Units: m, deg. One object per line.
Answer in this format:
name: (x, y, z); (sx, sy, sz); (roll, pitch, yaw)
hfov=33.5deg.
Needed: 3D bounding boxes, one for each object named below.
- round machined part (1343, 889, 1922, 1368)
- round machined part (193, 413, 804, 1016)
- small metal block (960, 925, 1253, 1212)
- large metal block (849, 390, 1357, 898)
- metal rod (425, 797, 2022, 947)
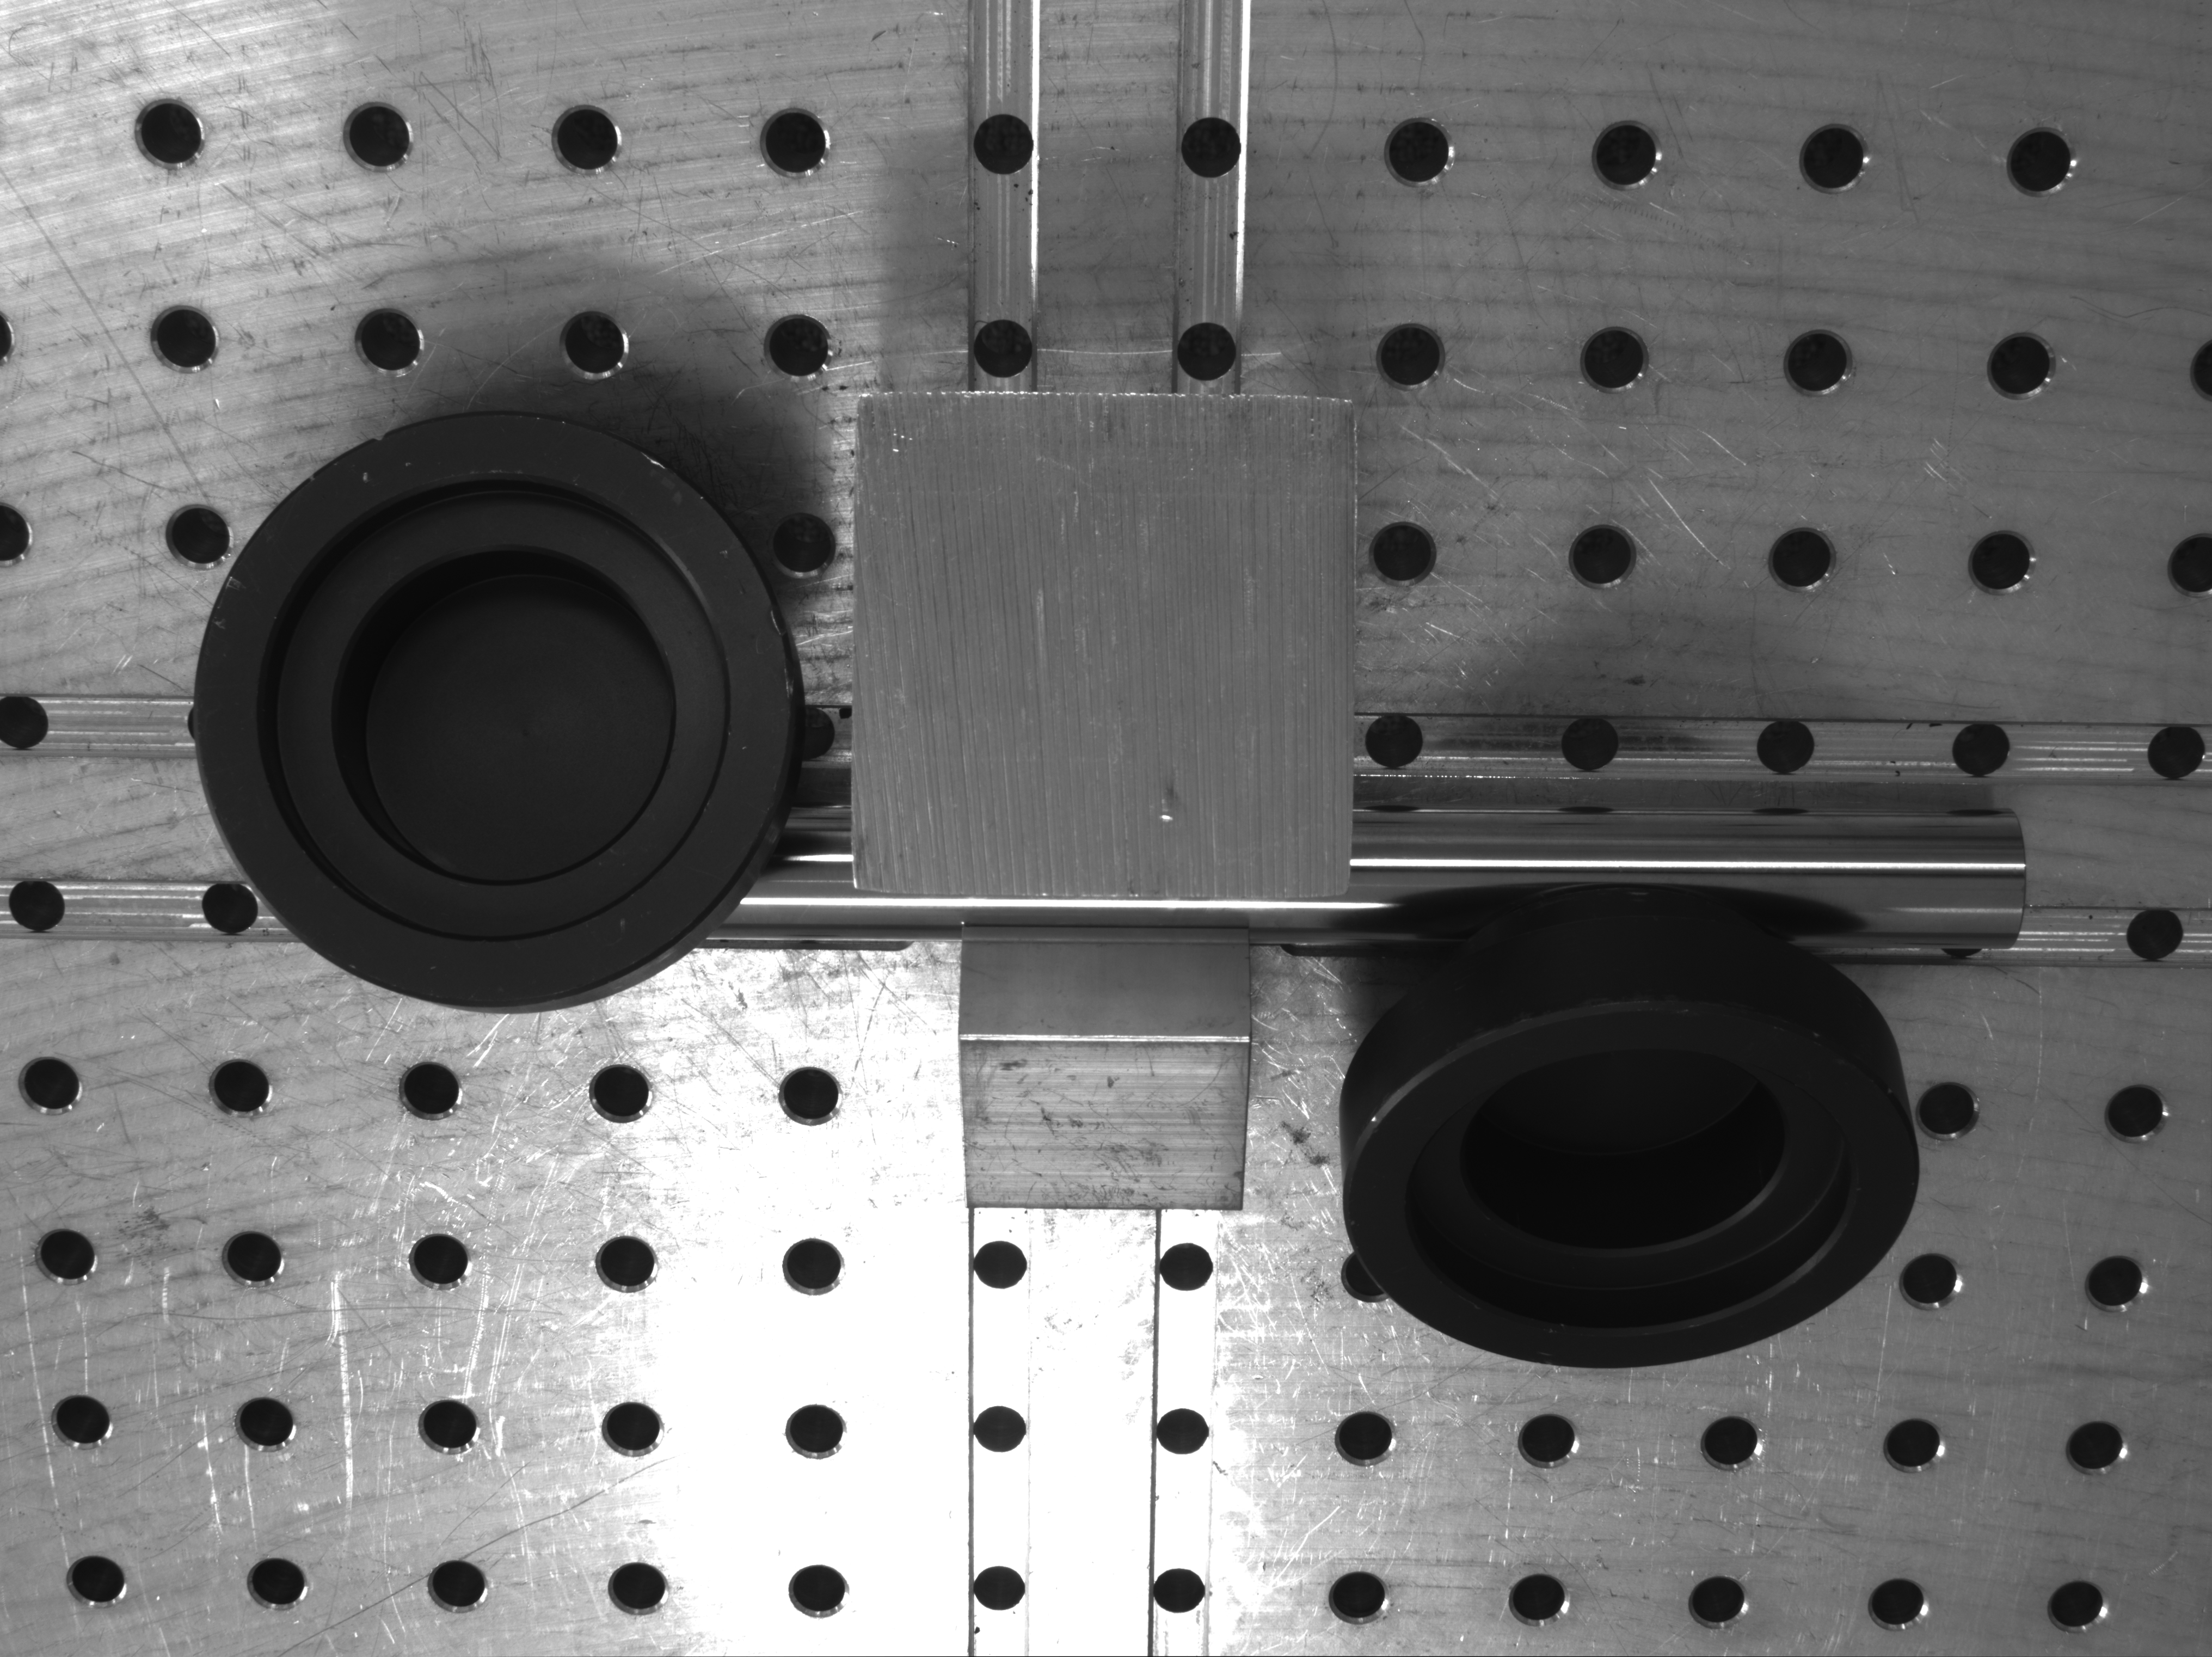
round machined part: (0.090, 0.048, 0.642); (0.098, 0.042, 0.098); (0, 135, 0)
round machined part: (-0.099, -0.017, 0.618); (0.098, 0.042, 0.098); (0, 84, 0)
small metal block: (0.000, 0.043, 0.652); (0.050, 0.025, 0.050); (1, 139, 0)
large metal block: (-0.001, -0.030, 0.610); (0.080, 0.050, 0.080); (1, 92, 0)
metal rod: (0.009, 0.007, 0.650); (0.300, 0.025, 0.025); (0, 110, 0)
